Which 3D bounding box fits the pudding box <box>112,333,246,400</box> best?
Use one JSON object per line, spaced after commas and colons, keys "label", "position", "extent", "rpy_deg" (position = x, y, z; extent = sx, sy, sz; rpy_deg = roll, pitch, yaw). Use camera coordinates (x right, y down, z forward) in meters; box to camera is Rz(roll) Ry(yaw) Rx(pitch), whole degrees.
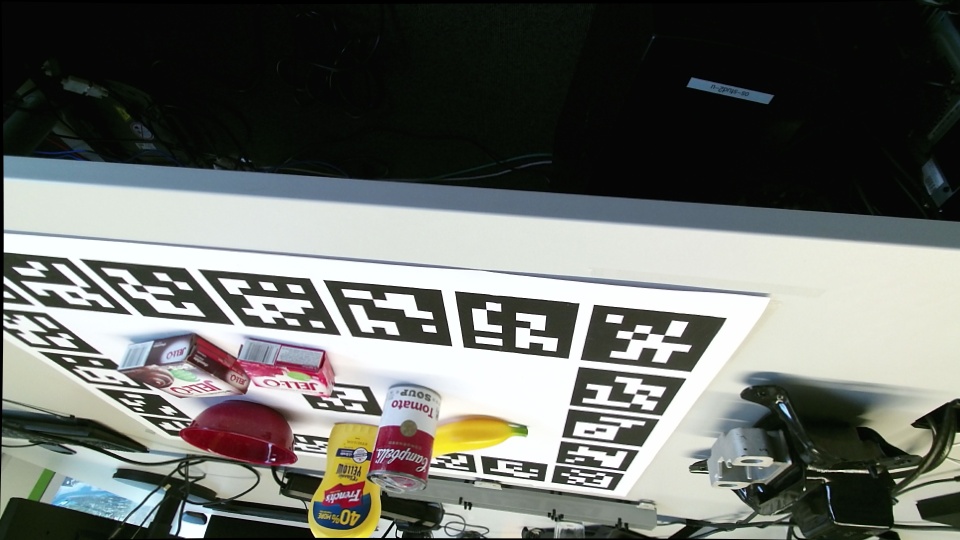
{"label": "pudding box", "position": [-0.346, 0.116, 0.621], "extent": [0.114, 0.038, 0.090], "rpy_deg": [-10, 135, 25]}

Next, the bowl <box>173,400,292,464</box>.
{"label": "bowl", "position": [-0.345, 0.230, 0.772], "extent": [0.162, 0.055, 0.162], "rpy_deg": [5, 145, 4]}

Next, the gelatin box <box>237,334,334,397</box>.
{"label": "gelatin box", "position": [-0.211, 0.107, 0.586], "extent": [0.090, 0.030, 0.073], "rpy_deg": [8, 141, 0]}

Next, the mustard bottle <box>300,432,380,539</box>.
{"label": "mustard bottle", "position": [-0.186, 0.320, 0.720], "extent": [0.096, 0.190, 0.058], "rpy_deg": [5, 147, 6]}

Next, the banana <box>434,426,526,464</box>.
{"label": "banana", "position": [-0.030, 0.238, 0.721], "extent": [0.074, 0.038, 0.197], "rpy_deg": [22, 144, -34]}

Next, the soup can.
{"label": "soup can", "position": [-0.082, 0.201, 0.611], "extent": [0.068, 0.101, 0.068], "rpy_deg": [8, 146, 5]}
